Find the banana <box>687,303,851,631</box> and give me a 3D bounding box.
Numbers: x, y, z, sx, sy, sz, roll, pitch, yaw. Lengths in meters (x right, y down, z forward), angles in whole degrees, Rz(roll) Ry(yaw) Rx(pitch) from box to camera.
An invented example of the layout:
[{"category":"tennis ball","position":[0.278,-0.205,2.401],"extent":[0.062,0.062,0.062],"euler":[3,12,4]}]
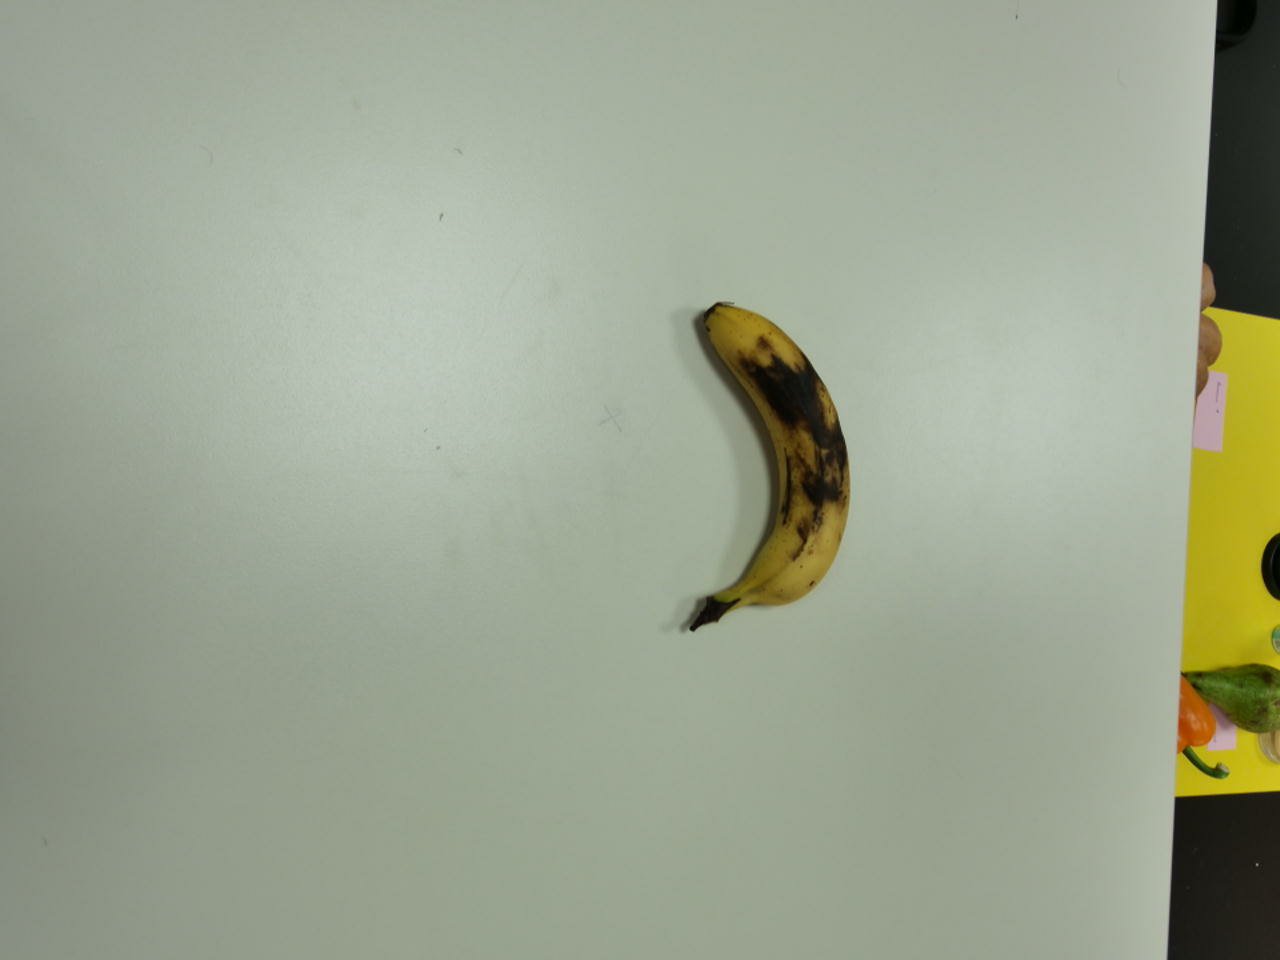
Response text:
[{"category":"banana","position":[0.078,-0.007,0.579],"extent":[0.094,0.039,0.187],"euler":[4,89,-22]}]
